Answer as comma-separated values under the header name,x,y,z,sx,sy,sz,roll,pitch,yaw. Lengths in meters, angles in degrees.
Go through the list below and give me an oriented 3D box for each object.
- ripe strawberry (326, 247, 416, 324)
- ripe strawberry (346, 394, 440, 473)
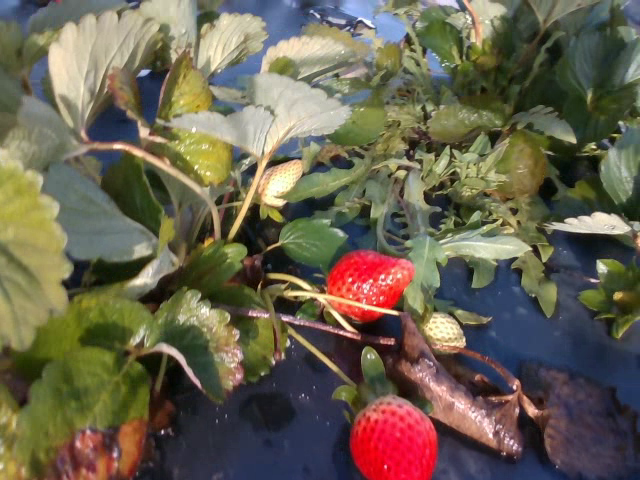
name,x,y,z,sx,sy,sz,roll,pitch,yaw
ripe strawberry,0.025,0.016,0.284,0.048,0.032,0.040,-29,19,39
ripe strawberry,0.025,0.074,0.214,0.035,0.030,0.043,-1,34,-1
